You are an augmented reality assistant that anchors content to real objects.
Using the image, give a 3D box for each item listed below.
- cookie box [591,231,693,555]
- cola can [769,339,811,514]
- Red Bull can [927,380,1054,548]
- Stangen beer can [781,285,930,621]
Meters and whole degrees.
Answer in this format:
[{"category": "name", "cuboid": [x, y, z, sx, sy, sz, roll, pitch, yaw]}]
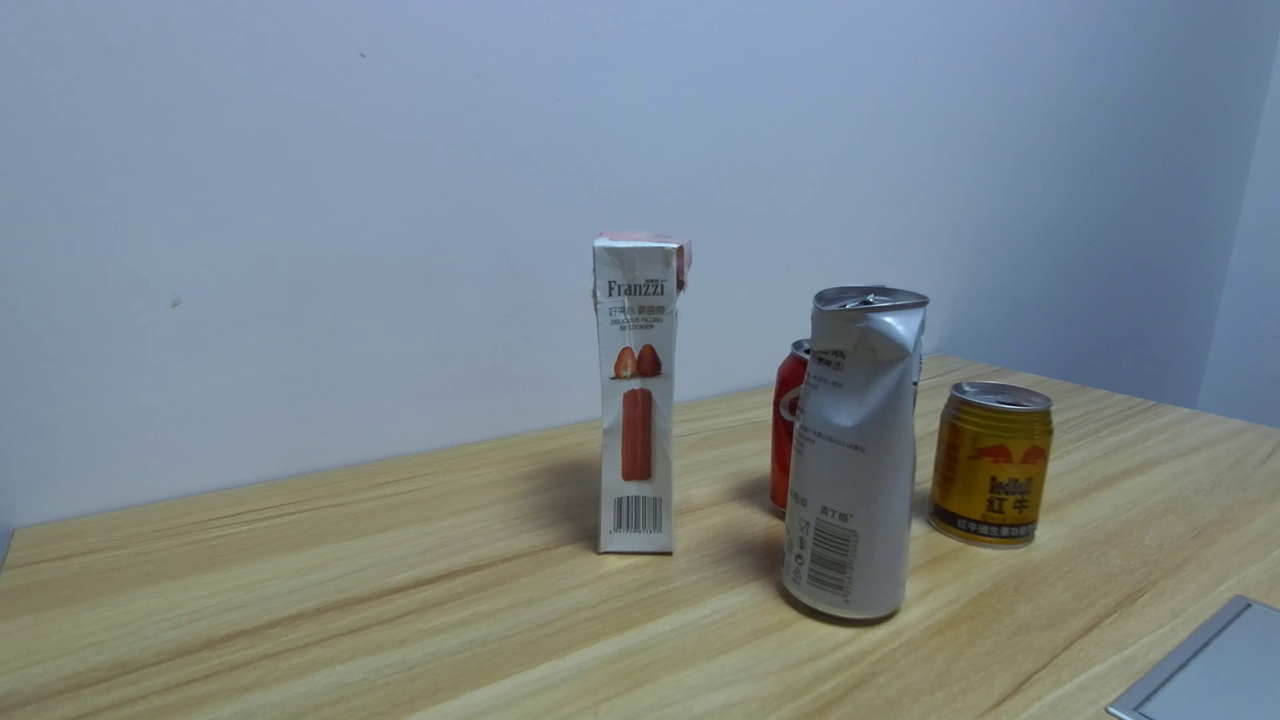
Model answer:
[{"category": "cookie box", "cuboid": [-0.002, 0.017, 0.439, 0.059, 0.186, 0.105, 3, 14, 2]}, {"category": "cola can", "cuboid": [0.132, 0.047, 0.494, 0.072, 0.117, 0.065, 12, 26, 24]}, {"category": "Red Bull can", "cuboid": [0.228, 0.068, 0.461, 0.067, 0.093, 0.067, 3, 12, 0]}, {"category": "Stangen beer can", "cuboid": [0.110, 0.048, 0.363, 0.066, 0.166, 0.066, 8, 17, 25]}]
